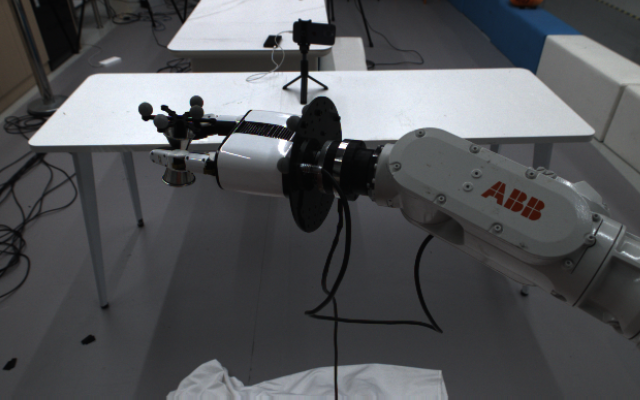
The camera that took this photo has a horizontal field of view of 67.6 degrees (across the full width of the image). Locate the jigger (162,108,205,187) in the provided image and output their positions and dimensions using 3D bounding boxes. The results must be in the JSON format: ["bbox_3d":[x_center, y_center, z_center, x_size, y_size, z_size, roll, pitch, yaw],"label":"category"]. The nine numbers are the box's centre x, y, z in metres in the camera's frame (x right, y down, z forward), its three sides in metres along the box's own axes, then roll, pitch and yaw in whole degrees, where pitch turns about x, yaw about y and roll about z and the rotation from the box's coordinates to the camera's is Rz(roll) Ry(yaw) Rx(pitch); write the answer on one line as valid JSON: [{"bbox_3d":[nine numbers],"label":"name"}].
[{"bbox_3d":[-0.182,-0.057,0.627,0.043,0.071,0.043,9,31,-5],"label":"jigger"}]
